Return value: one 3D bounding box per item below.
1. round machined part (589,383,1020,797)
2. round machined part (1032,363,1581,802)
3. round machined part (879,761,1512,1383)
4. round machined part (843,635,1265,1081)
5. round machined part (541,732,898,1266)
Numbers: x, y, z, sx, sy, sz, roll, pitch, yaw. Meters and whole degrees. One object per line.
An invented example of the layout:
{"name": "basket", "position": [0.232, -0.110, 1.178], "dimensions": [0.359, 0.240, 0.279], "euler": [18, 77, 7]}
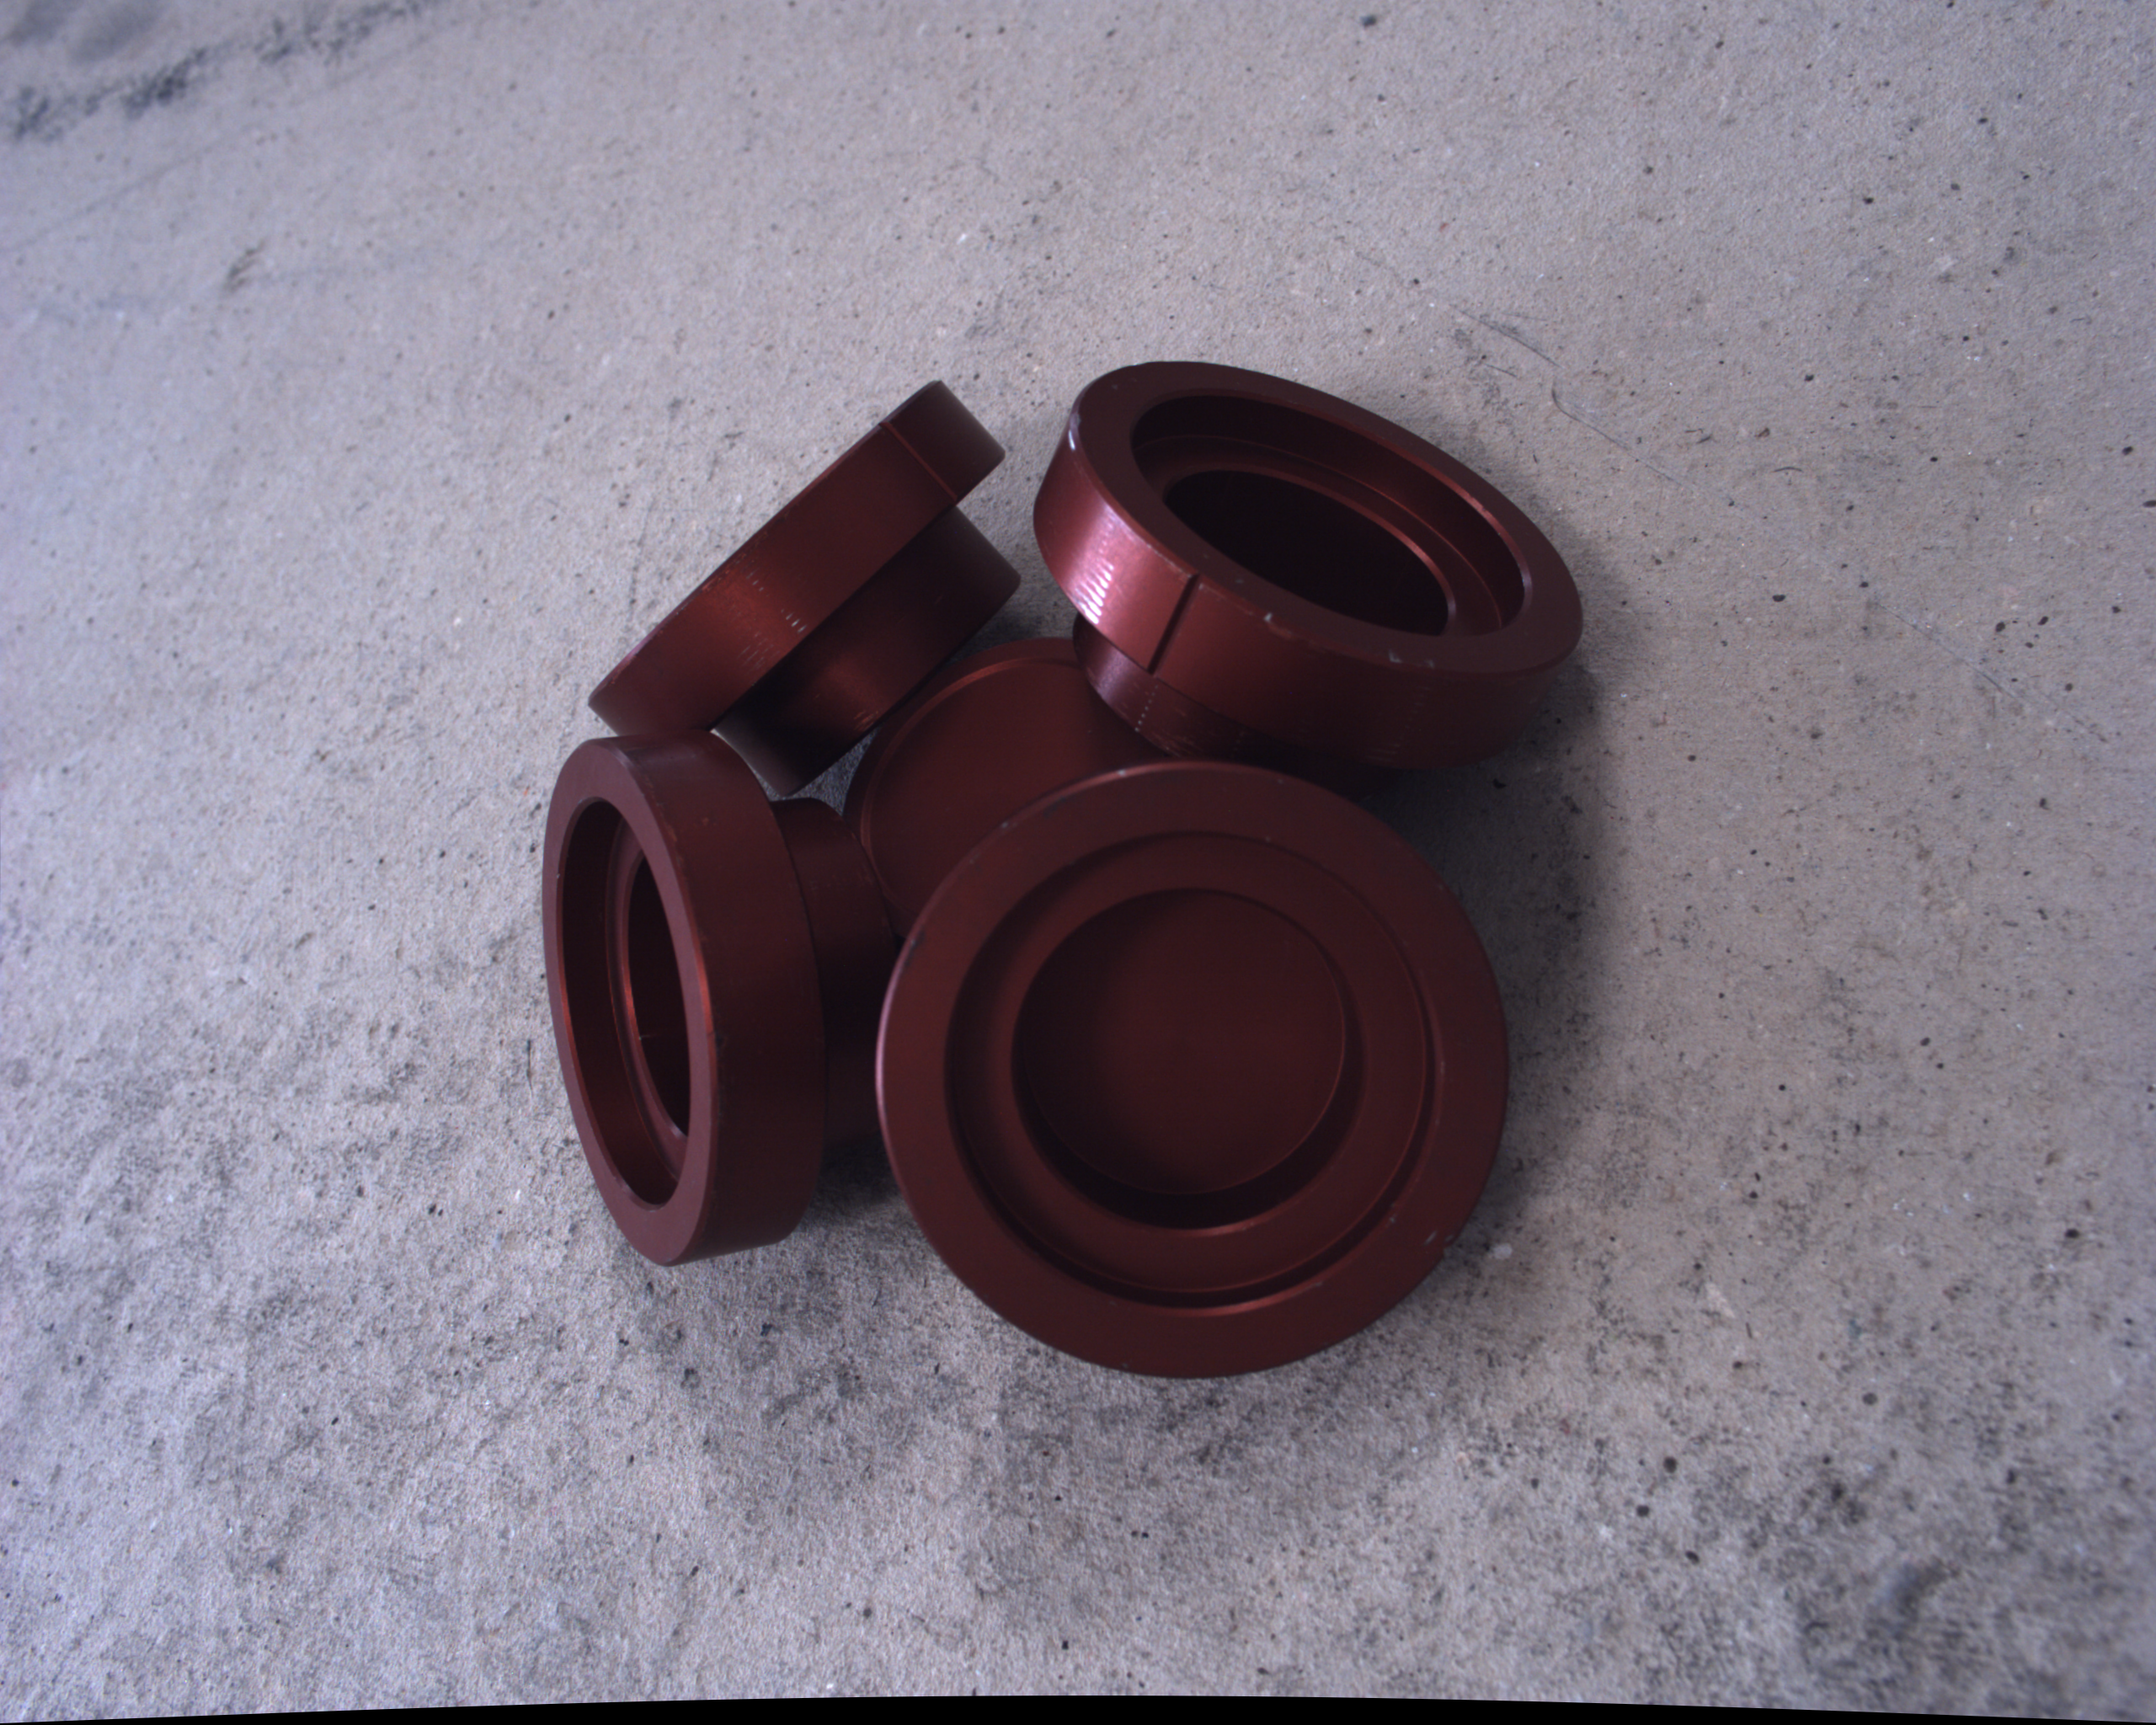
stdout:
{"name": "round machined part", "position": [-0.051, -0.051, 0.432], "dimensions": [0.098, 0.042, 0.098], "euler": [-41, 10, 9]}
{"name": "round machined part", "position": [0.038, -0.048, 0.382], "dimensions": [0.098, 0.099, 0.042], "euler": [59, 137, 38]}
{"name": "round machined part", "position": [0.018, 0.032, 0.345], "dimensions": [0.099, 0.042, 0.097], "euler": [0, 95, 0]}
{"name": "round machined part", "position": [-0.006, -0.004, 0.400], "dimensions": [0.098, 0.042, 0.098], "euler": [-13, 55, 19]}
{"name": "round machined part", "position": [-0.066, 0.023, 0.393], "dimensions": [0.042, 0.097, 0.098], "euler": [-8, 44, -30]}
